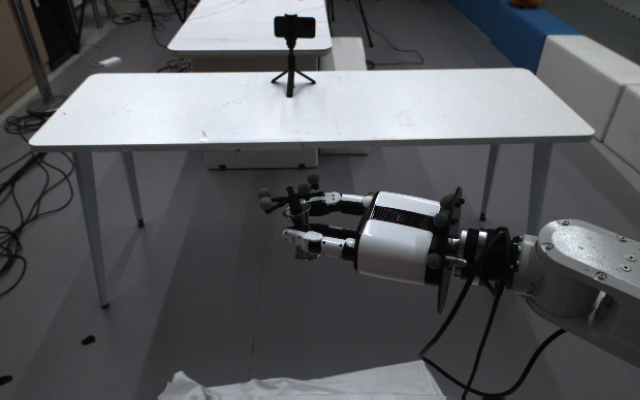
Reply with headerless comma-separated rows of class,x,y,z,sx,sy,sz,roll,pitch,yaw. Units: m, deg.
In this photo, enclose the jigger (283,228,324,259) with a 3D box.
jigger,-0.021,0.043,0.657,0.043,0.071,0.043,-14,22,6
